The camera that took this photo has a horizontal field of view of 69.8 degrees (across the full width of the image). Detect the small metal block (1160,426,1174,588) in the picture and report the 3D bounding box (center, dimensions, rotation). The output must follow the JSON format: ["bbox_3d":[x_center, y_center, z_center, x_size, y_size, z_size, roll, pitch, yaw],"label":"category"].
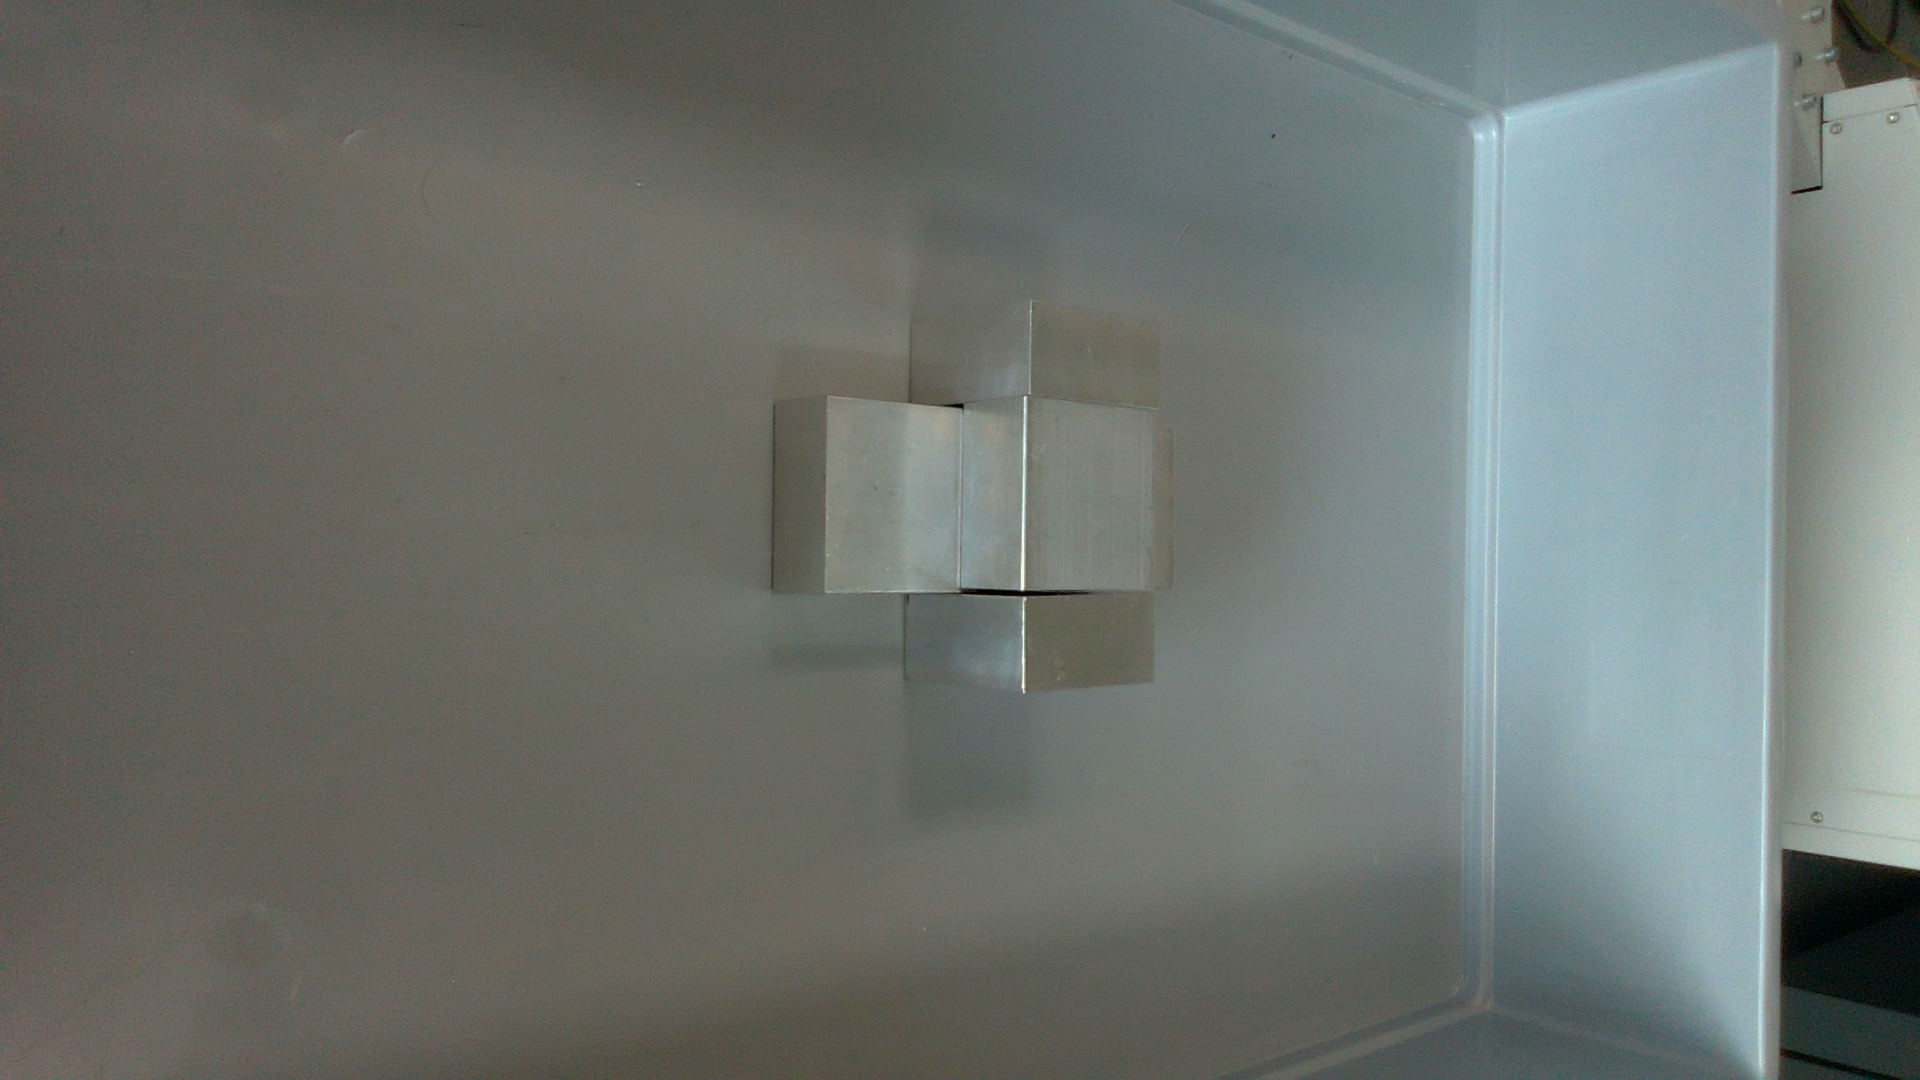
[{"bbox_3d":[0.039,-0.010,0.420,0.050,0.025,0.050,1,89,-40],"label":"small metal block"}]

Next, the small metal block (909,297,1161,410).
[{"bbox_3d":[0.021,-0.049,0.387,0.050,0.050,0.025,1,89,-40],"label":"small metal block"}]

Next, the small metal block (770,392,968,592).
[{"bbox_3d":[-0.022,-0.012,0.368,0.050,0.025,0.050,1,89,-40],"label":"small metal block"}]

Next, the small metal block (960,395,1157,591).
[{"bbox_3d":[0.027,-0.012,0.376,0.050,0.025,0.050,1,89,-40],"label":"small metal block"}]

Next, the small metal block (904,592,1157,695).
[{"bbox_3d":[0.019,0.027,0.385,0.050,0.050,0.025,1,89,-40],"label":"small metal block"}]
